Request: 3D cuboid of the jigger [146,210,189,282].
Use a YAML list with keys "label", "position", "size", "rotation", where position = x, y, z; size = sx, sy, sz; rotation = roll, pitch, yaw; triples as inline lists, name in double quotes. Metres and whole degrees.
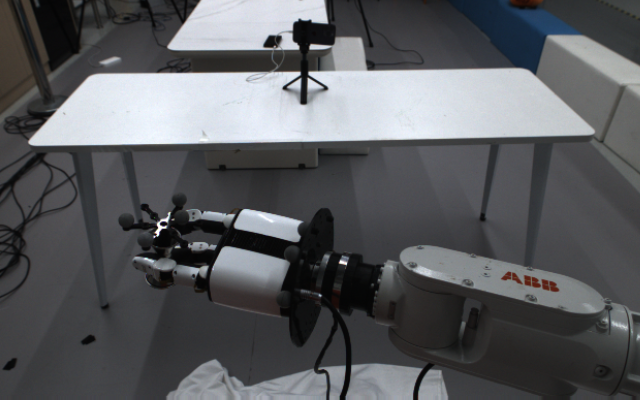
- label: "jigger"
  position: [-0.191, 0.069, 0.594]
  size: [0.043, 0.071, 0.043]
  rotation: [10, 36, -7]
